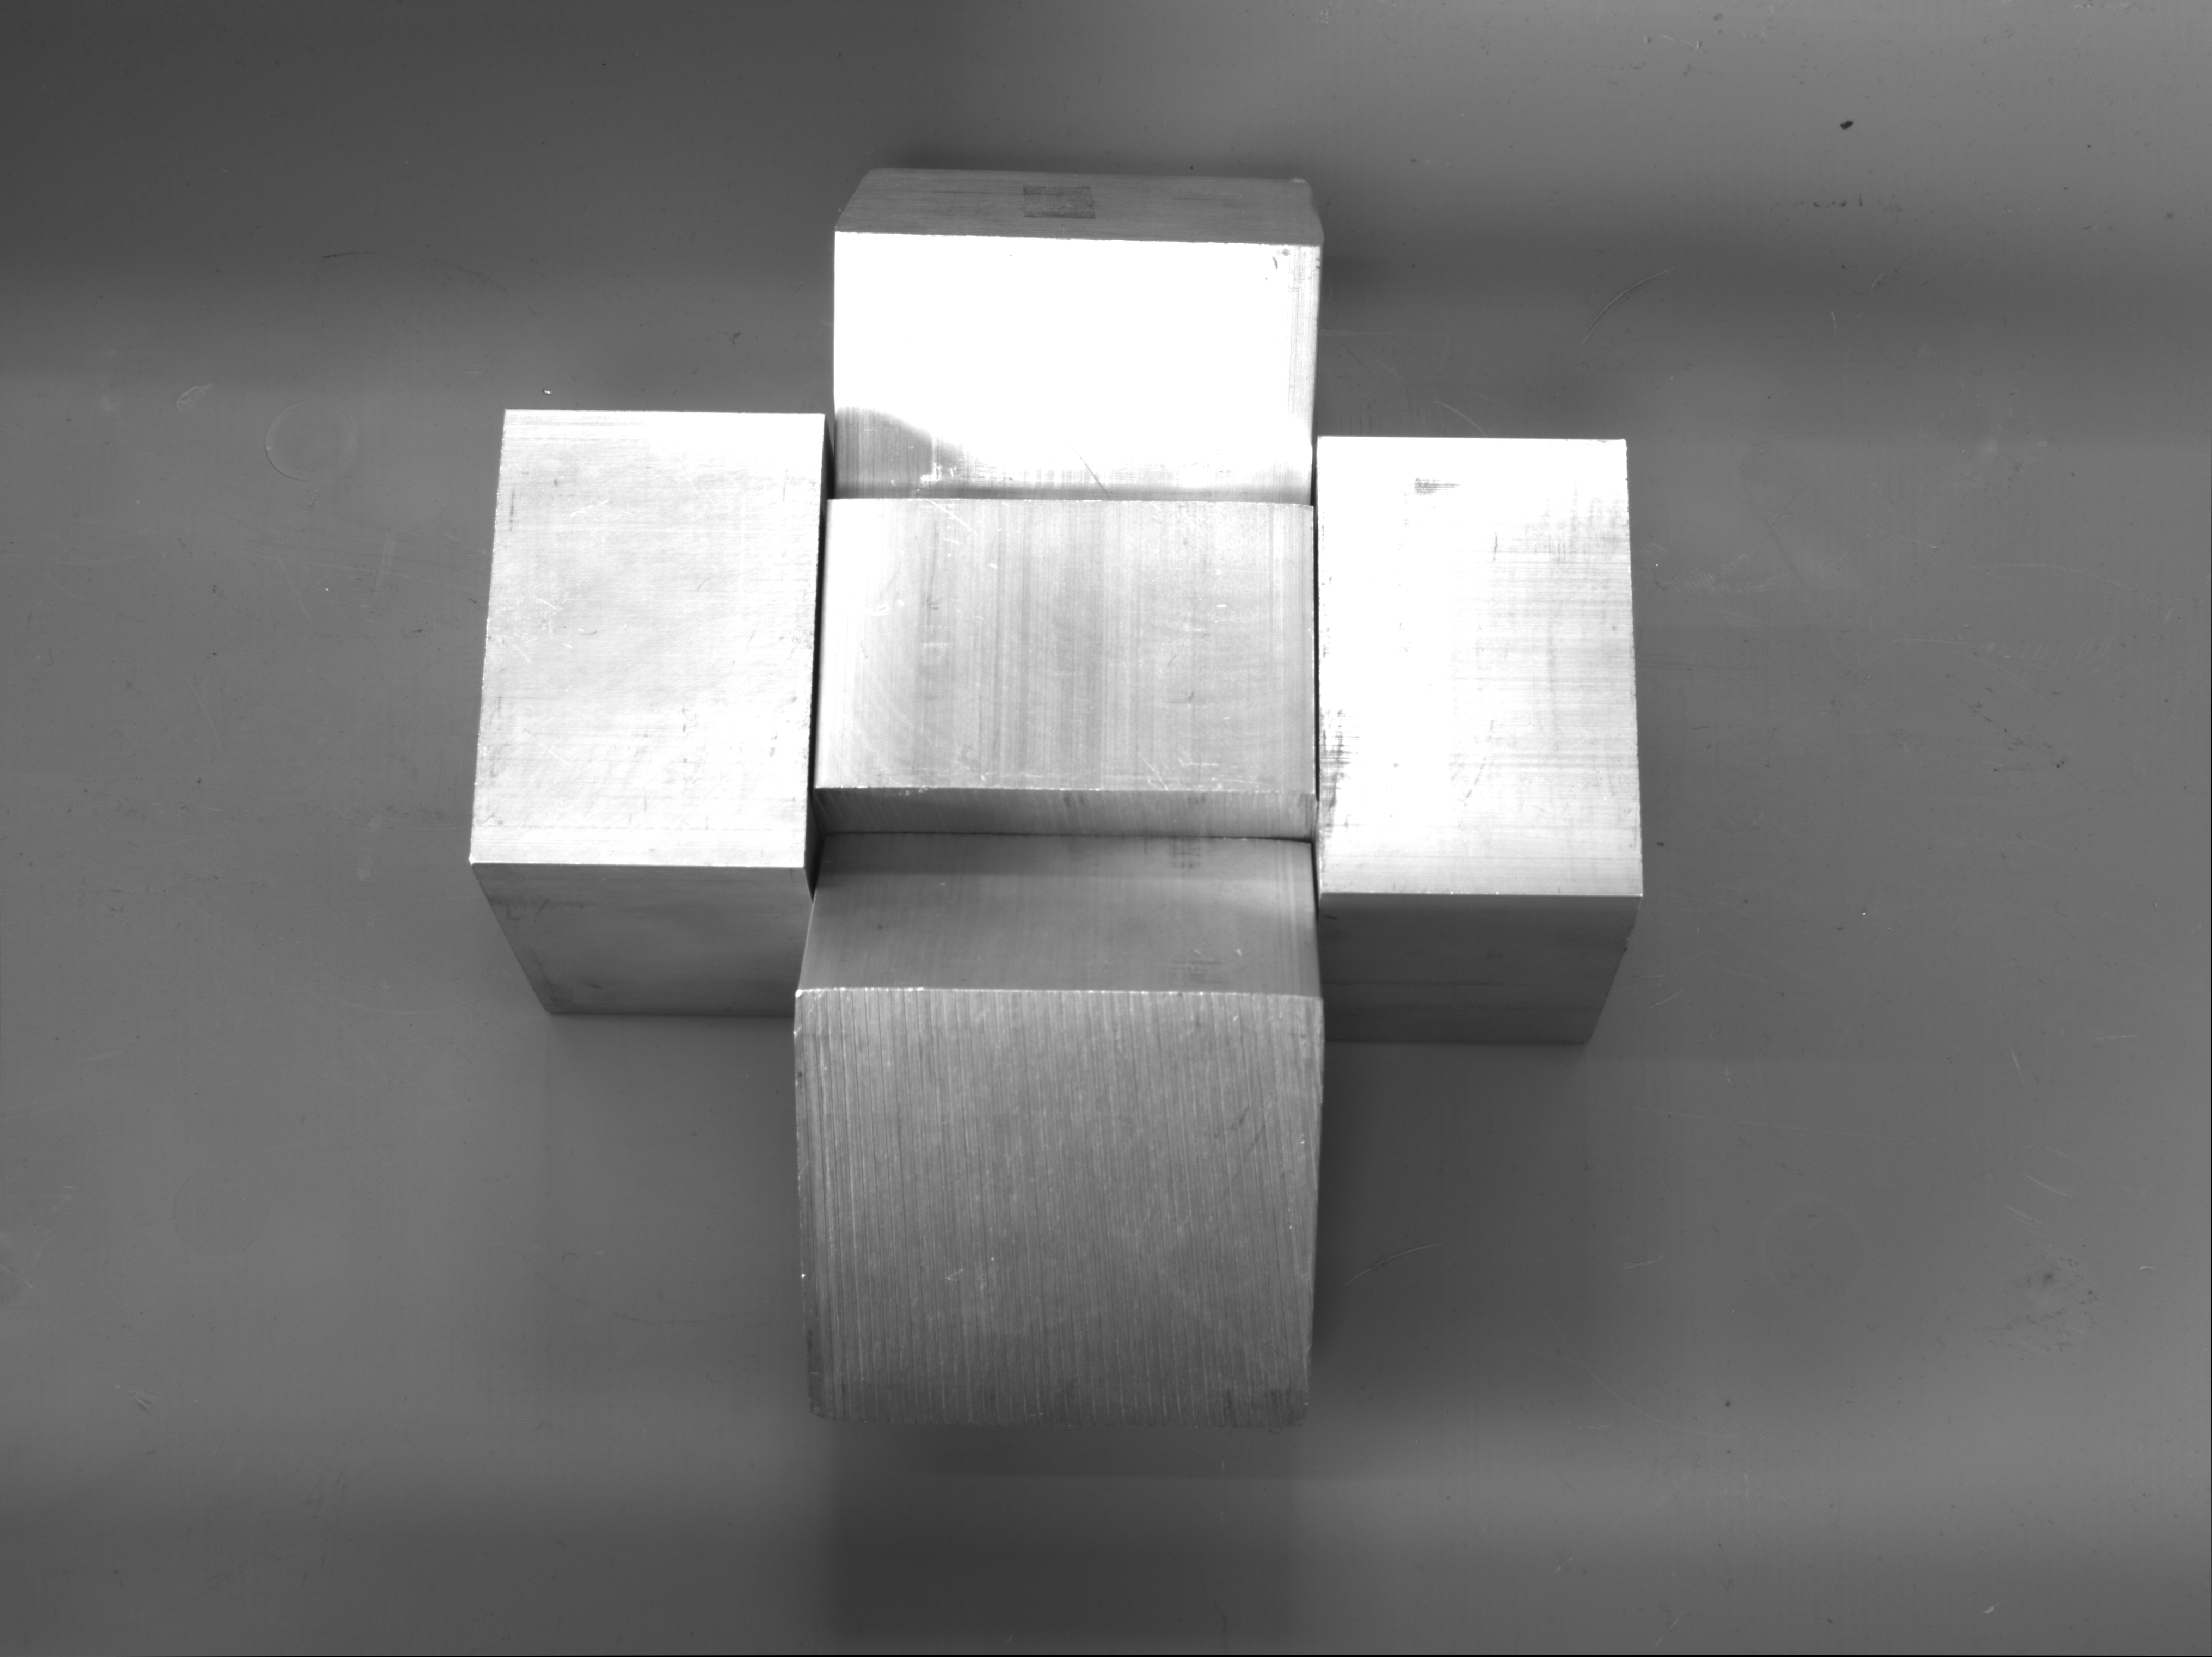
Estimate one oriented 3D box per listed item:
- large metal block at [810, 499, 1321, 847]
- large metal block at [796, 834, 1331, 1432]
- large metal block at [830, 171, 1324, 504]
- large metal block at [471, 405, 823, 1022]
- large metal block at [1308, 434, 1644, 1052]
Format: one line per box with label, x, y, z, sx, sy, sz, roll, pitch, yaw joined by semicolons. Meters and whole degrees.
large metal block;-0.006;-0.015;0.620;0.080;0.080;0.050;1;70;0
large metal block;-0.007;0.049;0.589;0.080;0.080;0.050;1;28;-1
large metal block;-0.004;-0.084;0.639;0.080;0.080;0.050;2;107;1
large metal block;-0.073;-0.017;0.621;0.050;0.080;0.080;1;70;1
large metal block;0.059;-0.012;0.619;0.050;0.080;0.080;1;70;1
